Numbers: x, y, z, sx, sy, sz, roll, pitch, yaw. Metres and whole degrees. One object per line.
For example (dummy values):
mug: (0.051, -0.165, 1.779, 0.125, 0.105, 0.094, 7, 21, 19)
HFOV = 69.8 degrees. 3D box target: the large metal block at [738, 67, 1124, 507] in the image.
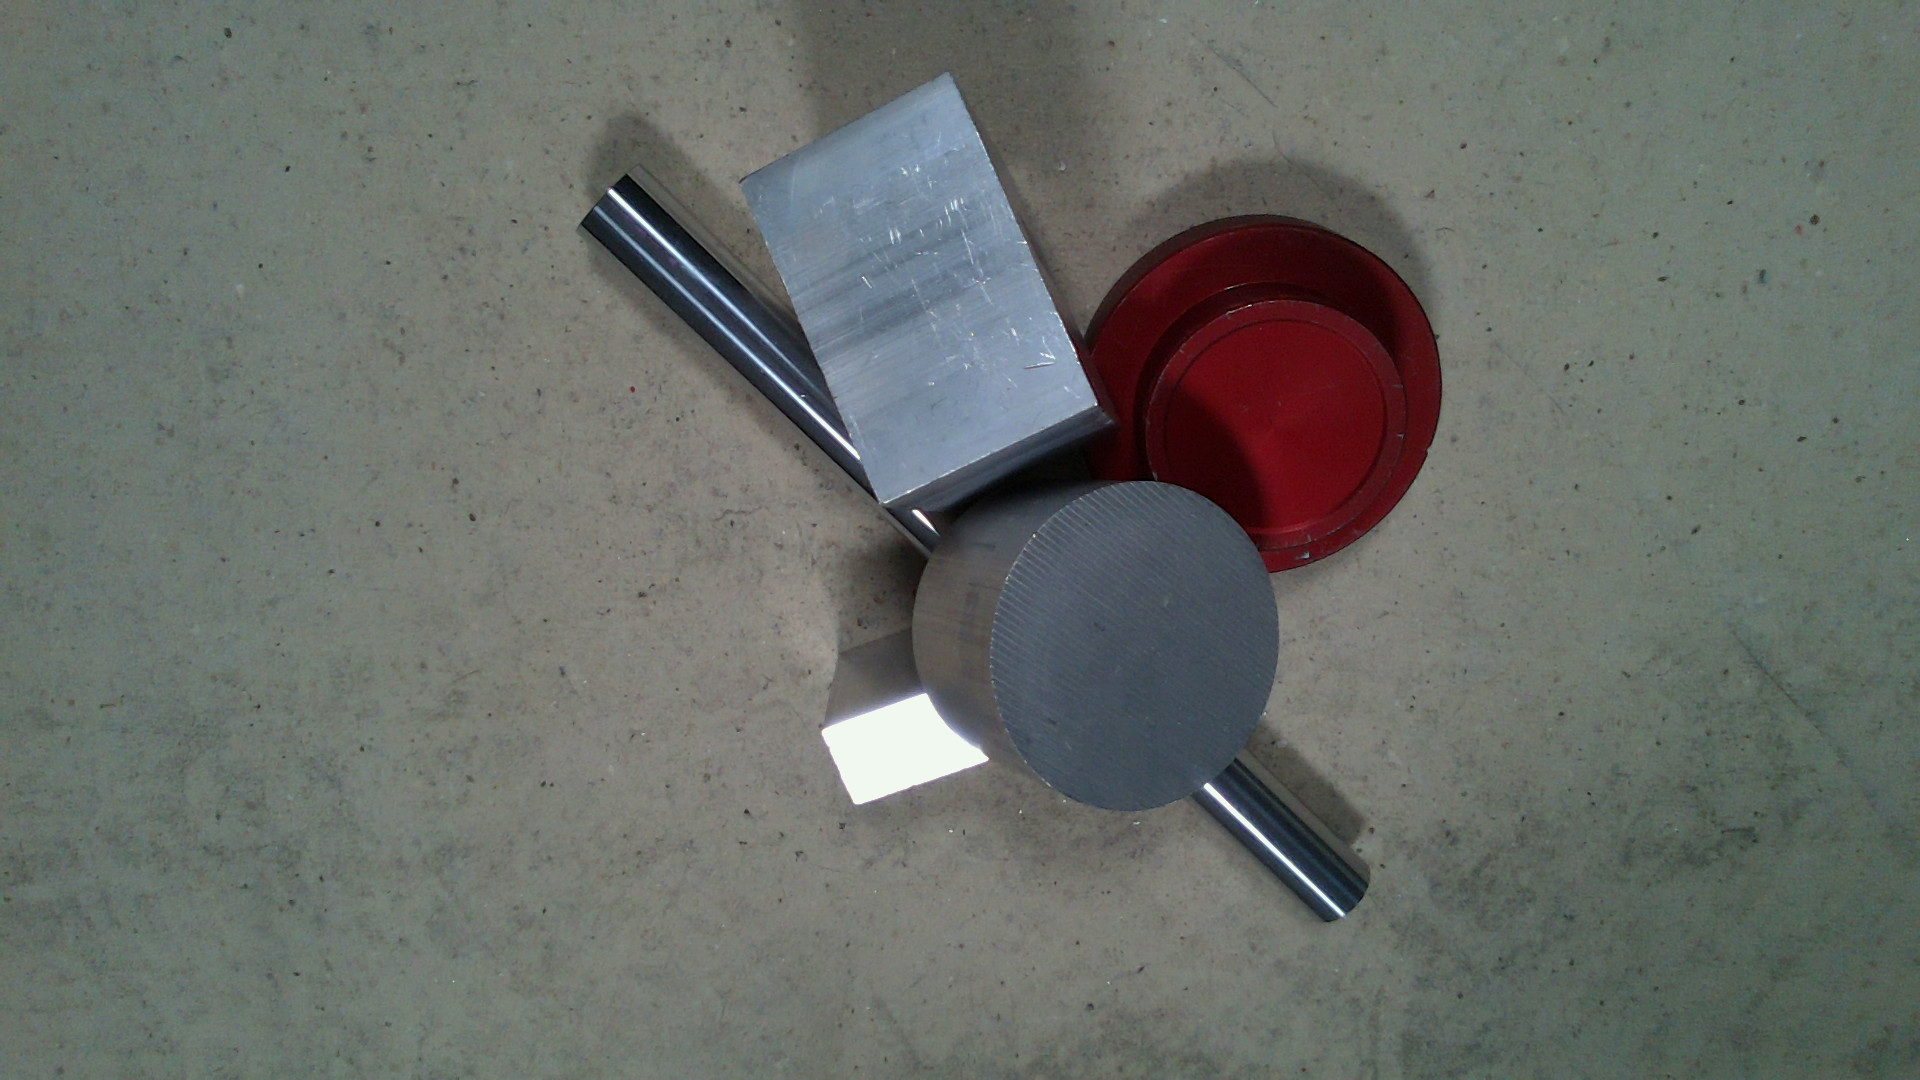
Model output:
large metal block: (-0.002, -0.054, 0.333, 0.050, 0.080, 0.080, -25, 86, 10)

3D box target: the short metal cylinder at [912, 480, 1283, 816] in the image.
short metal cylinder: (0.034, 0.025, 0.350, 0.080, 0.050, 0.080, -1, 93, -23)

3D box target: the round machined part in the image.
round machined part: (0.082, -0.035, 0.372, 0.098, 0.042, 0.098, 0, 110, 0)

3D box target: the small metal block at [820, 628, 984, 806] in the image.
small metal block: (-0.010, 0.046, 0.398, 0.050, 0.050, 0.025, -20, 108, 7)

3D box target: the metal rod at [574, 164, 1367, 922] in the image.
metal rod: (0.013, 0.010, 0.398, 0.025, 0.025, 0.300, -43, 105, 14)
